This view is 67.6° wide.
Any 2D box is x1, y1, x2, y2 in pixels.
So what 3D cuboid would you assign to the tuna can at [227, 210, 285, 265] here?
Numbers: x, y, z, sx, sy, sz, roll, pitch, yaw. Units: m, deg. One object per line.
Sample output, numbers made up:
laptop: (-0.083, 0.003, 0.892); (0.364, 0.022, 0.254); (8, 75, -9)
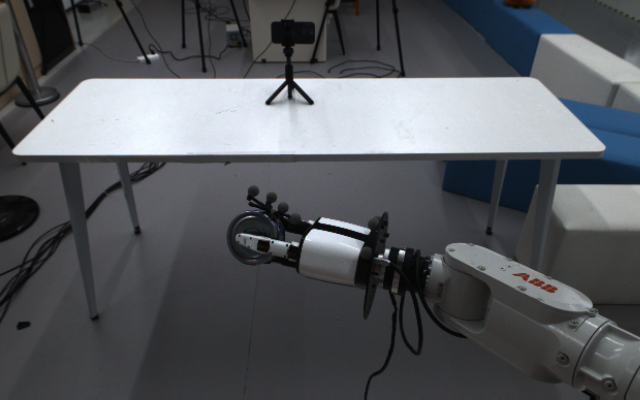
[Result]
tuna can: (-0.096, 0.063, 0.741); (0.085, 0.085, 0.034); (12, 4, 15)
